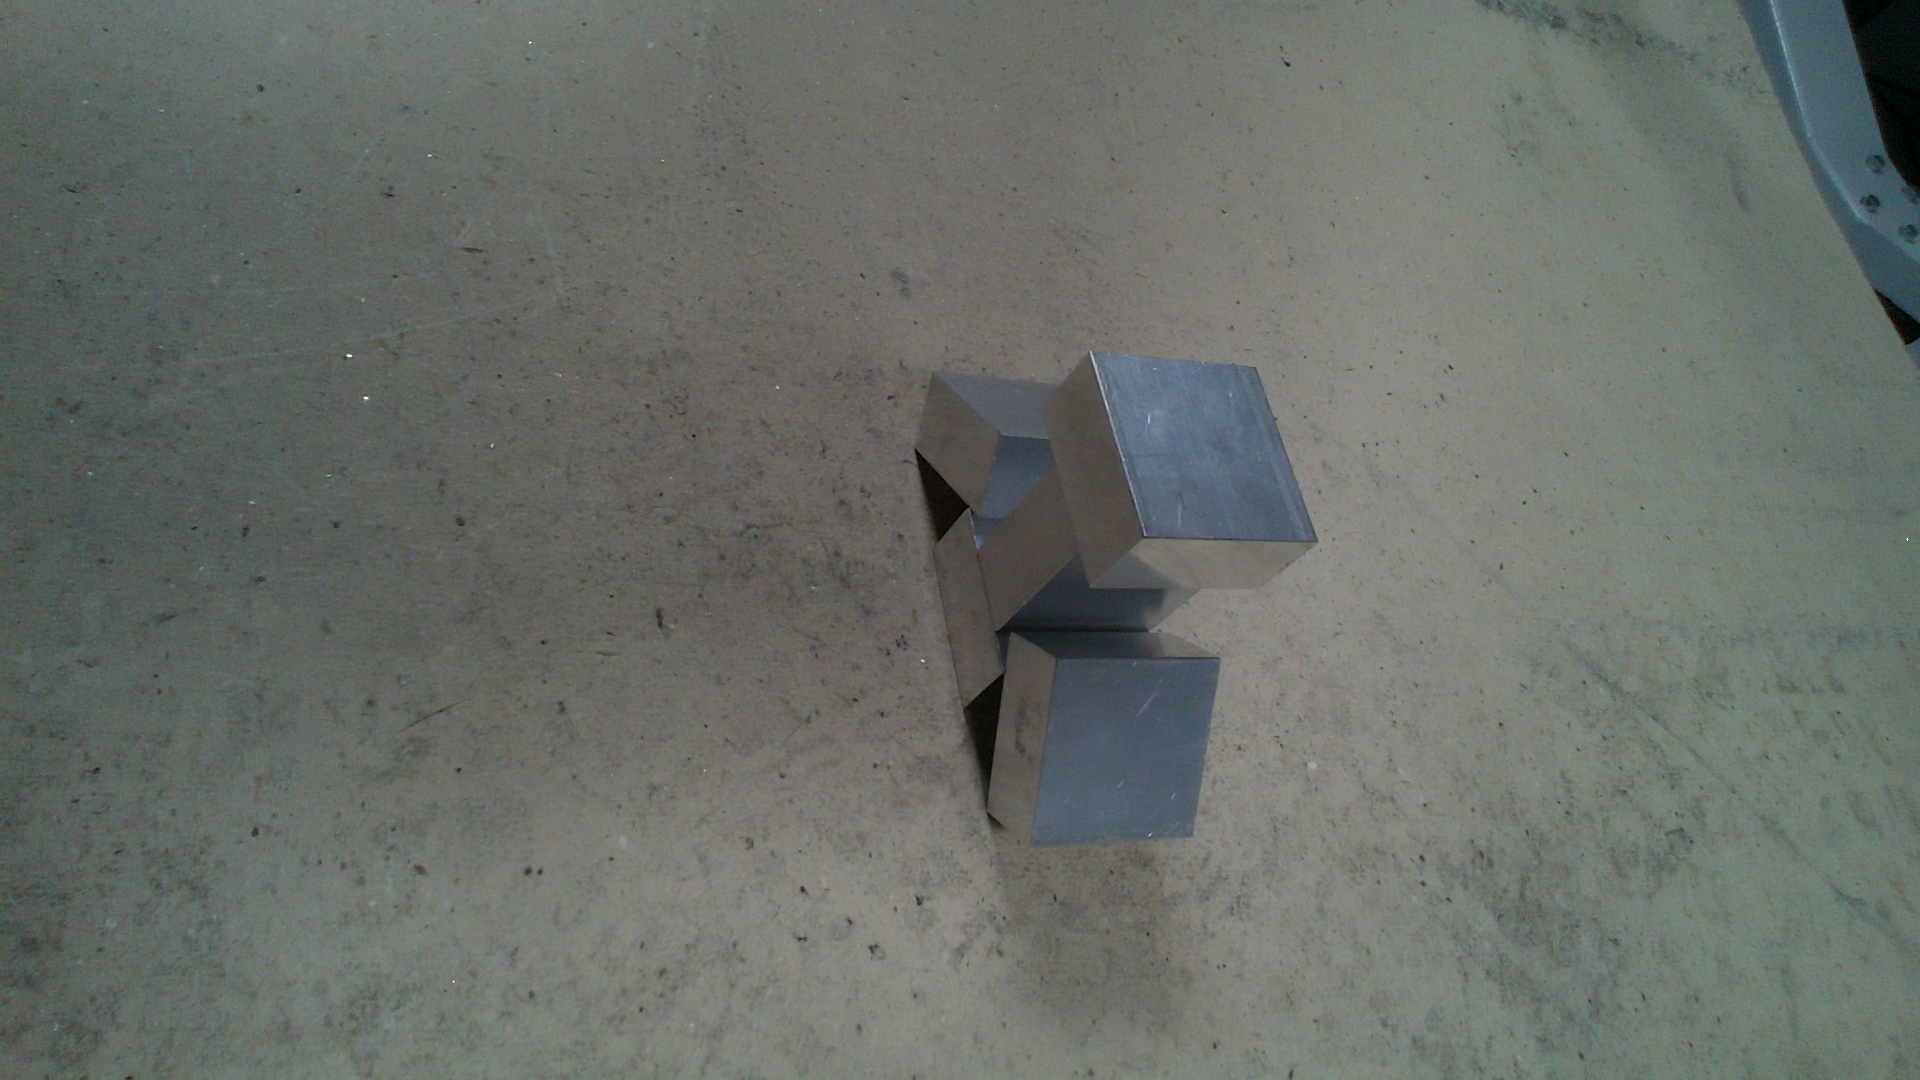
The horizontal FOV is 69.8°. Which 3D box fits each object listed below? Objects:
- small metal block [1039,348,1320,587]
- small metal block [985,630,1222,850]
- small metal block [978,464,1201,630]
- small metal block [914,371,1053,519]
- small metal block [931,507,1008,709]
[{"bbox_3d":[0.052,-0.017,0.332,0.050,0.025,0.050,1,61,-28],"label":"small metal block"},{"bbox_3d":[0.038,0.051,0.362,0.050,0.025,0.050,2,101,-27],"label":"small metal block"},{"bbox_3d":[0.040,0.002,0.361,0.050,0.050,0.025,2,60,-27],"label":"small metal block"},{"bbox_3d":[0.021,-0.027,0.402,0.050,0.025,0.050,2,25,-27],"label":"small metal block"},{"bbox_3d":[0.024,0.020,0.391,0.050,0.025,0.050,2,60,-27],"label":"small metal block"}]
